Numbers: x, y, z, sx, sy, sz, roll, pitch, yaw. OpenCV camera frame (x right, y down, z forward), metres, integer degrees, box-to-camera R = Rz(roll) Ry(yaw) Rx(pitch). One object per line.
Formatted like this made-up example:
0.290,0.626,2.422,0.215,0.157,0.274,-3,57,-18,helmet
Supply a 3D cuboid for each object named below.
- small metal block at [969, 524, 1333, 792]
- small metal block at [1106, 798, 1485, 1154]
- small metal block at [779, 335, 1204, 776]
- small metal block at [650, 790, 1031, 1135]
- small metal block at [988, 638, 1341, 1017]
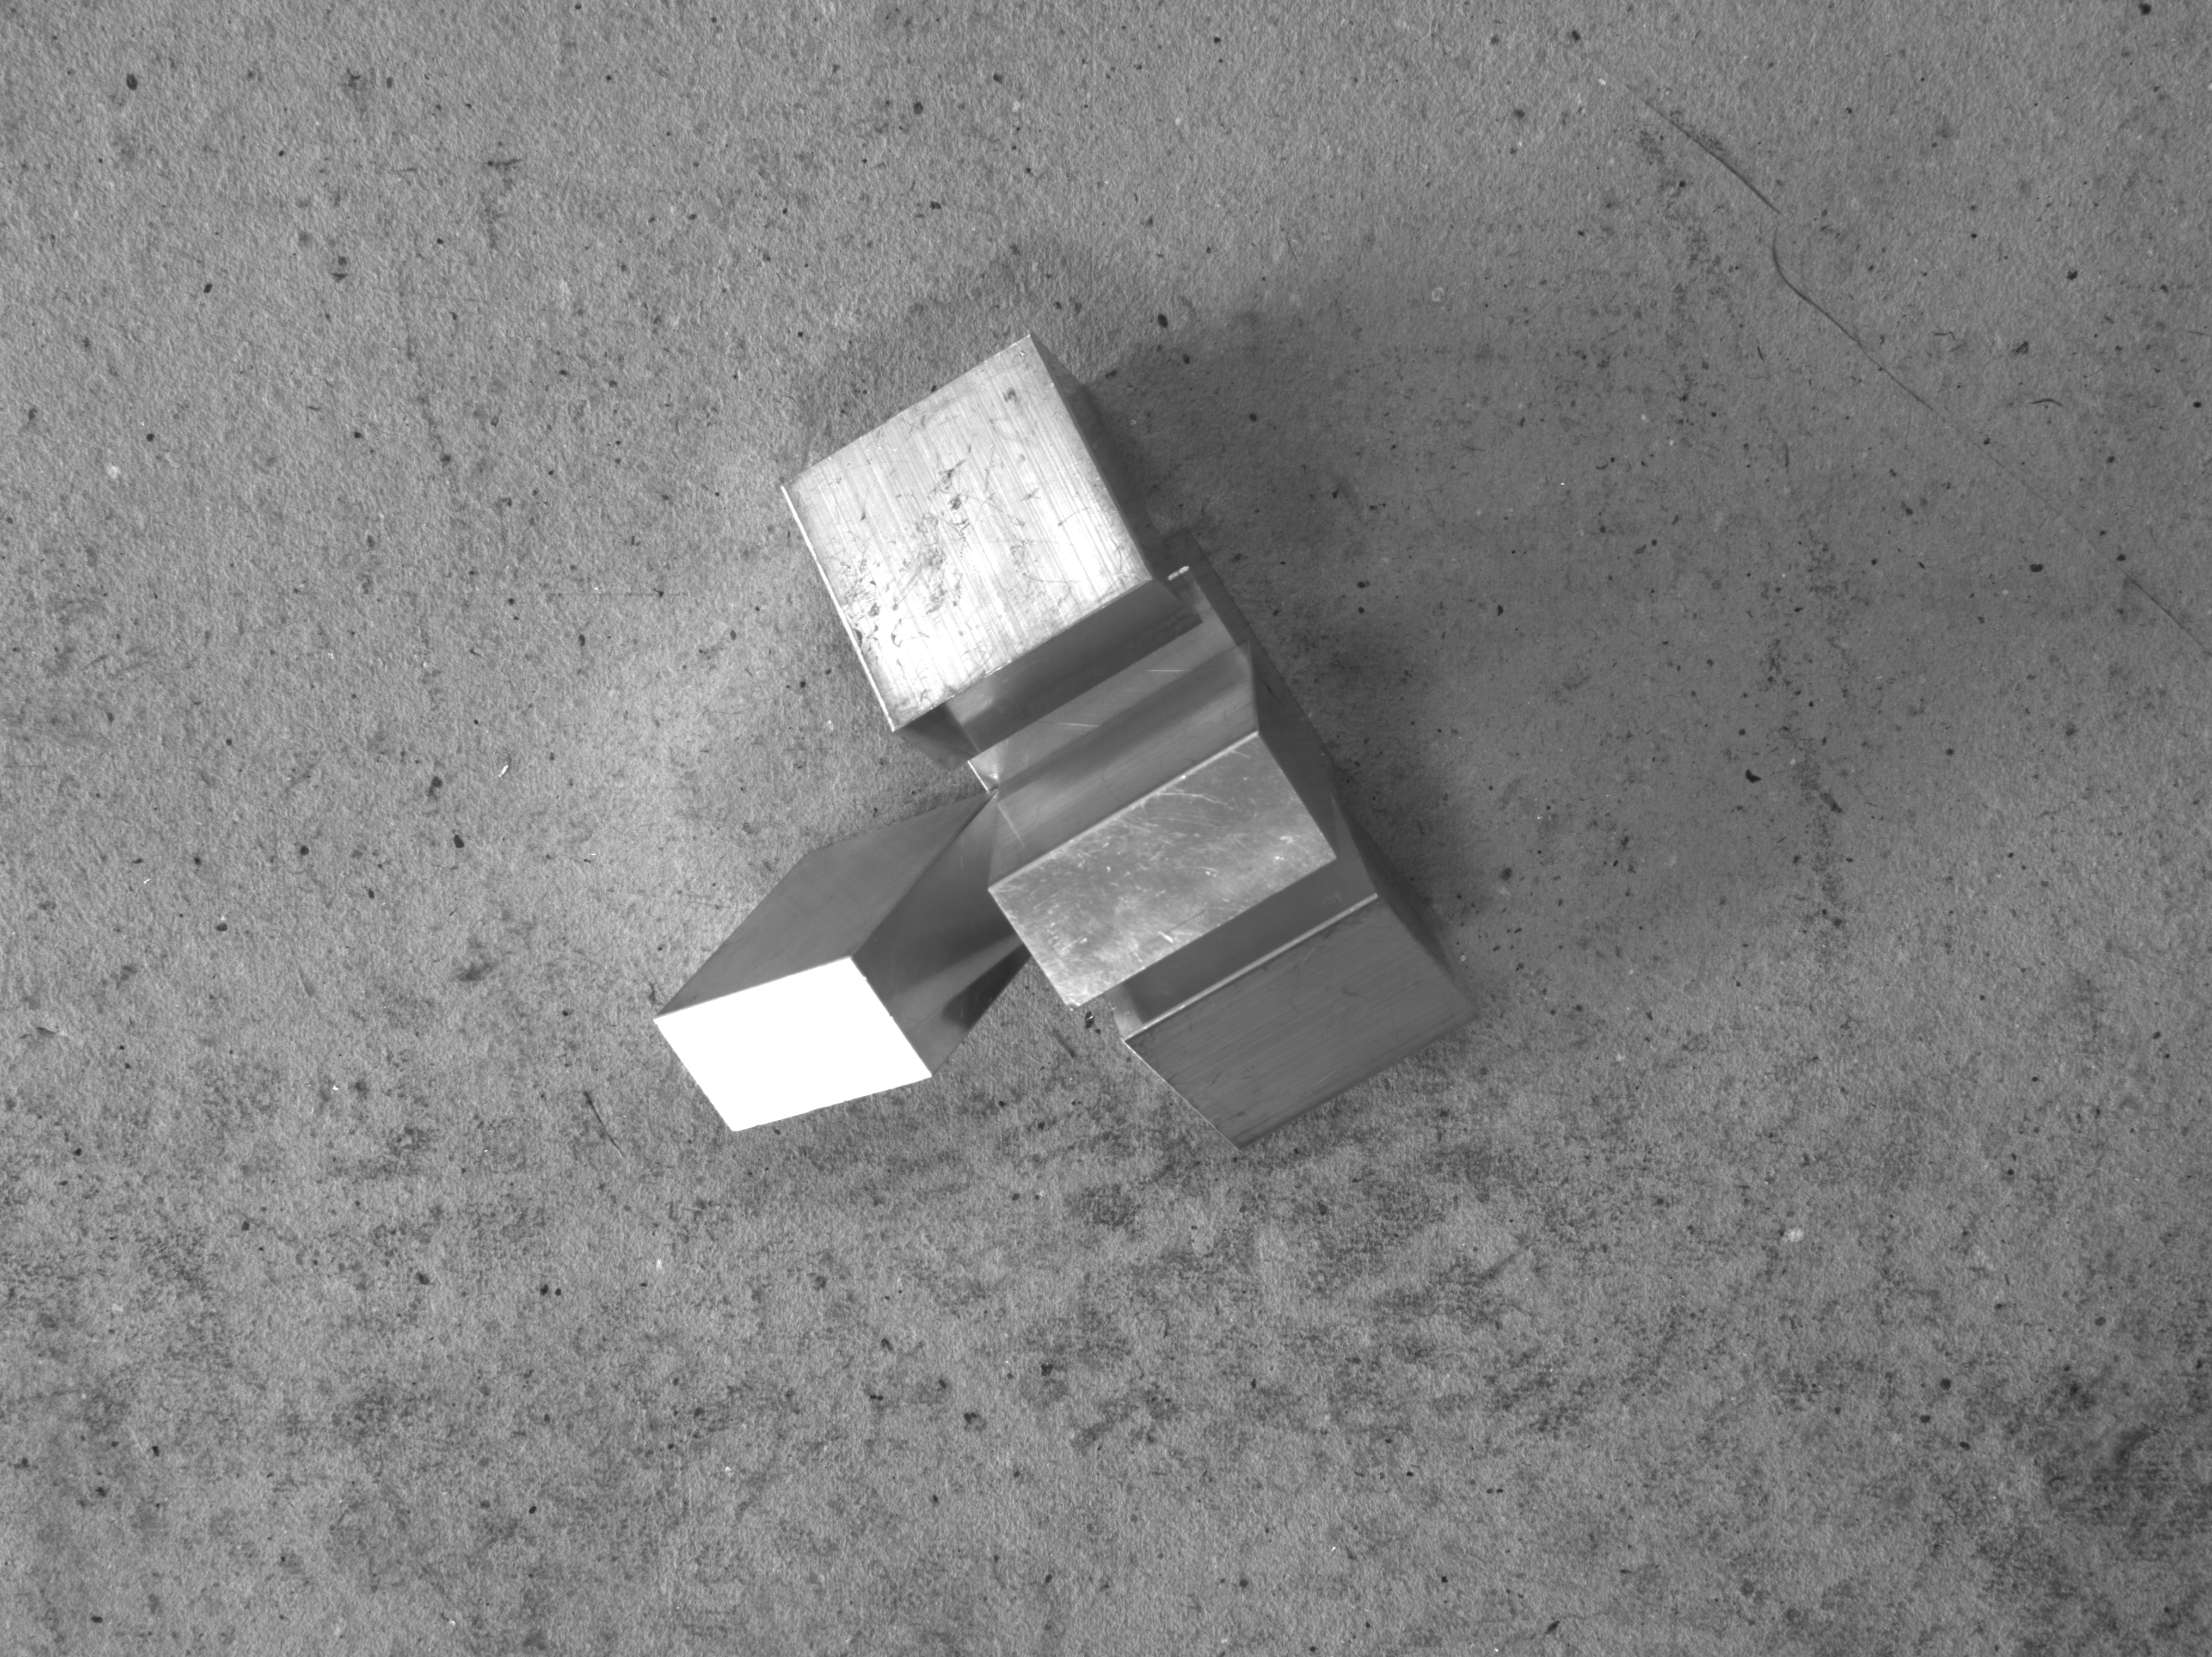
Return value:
0.005,-0.016,0.639,0.050,0.025,0.050,-29,107,13,small metal block
0.031,0.025,0.640,0.050,0.025,0.050,-30,143,11,small metal block
-0.019,-0.045,0.614,0.050,0.025,0.050,-30,67,11,small metal block
-0.041,0.023,0.629,0.050,0.050,0.025,-17,113,41,small metal block
0.009,-0.001,0.604,0.050,0.050,0.025,-30,108,11,small metal block
